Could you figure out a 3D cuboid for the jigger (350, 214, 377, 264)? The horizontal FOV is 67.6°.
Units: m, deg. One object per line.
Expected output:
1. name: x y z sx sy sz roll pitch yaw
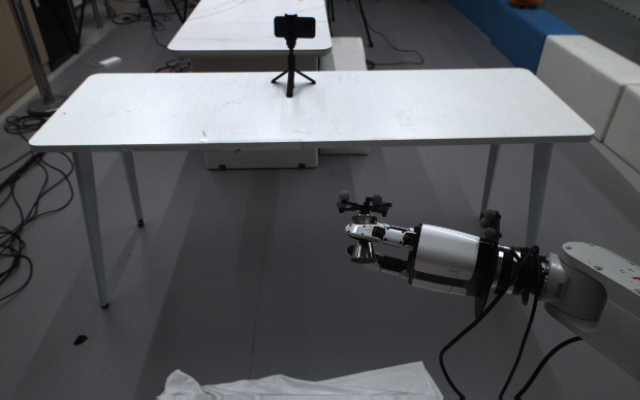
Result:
1. jigger: 0.066 0.057 0.743 0.043 0.043 0.071 3 72 1
